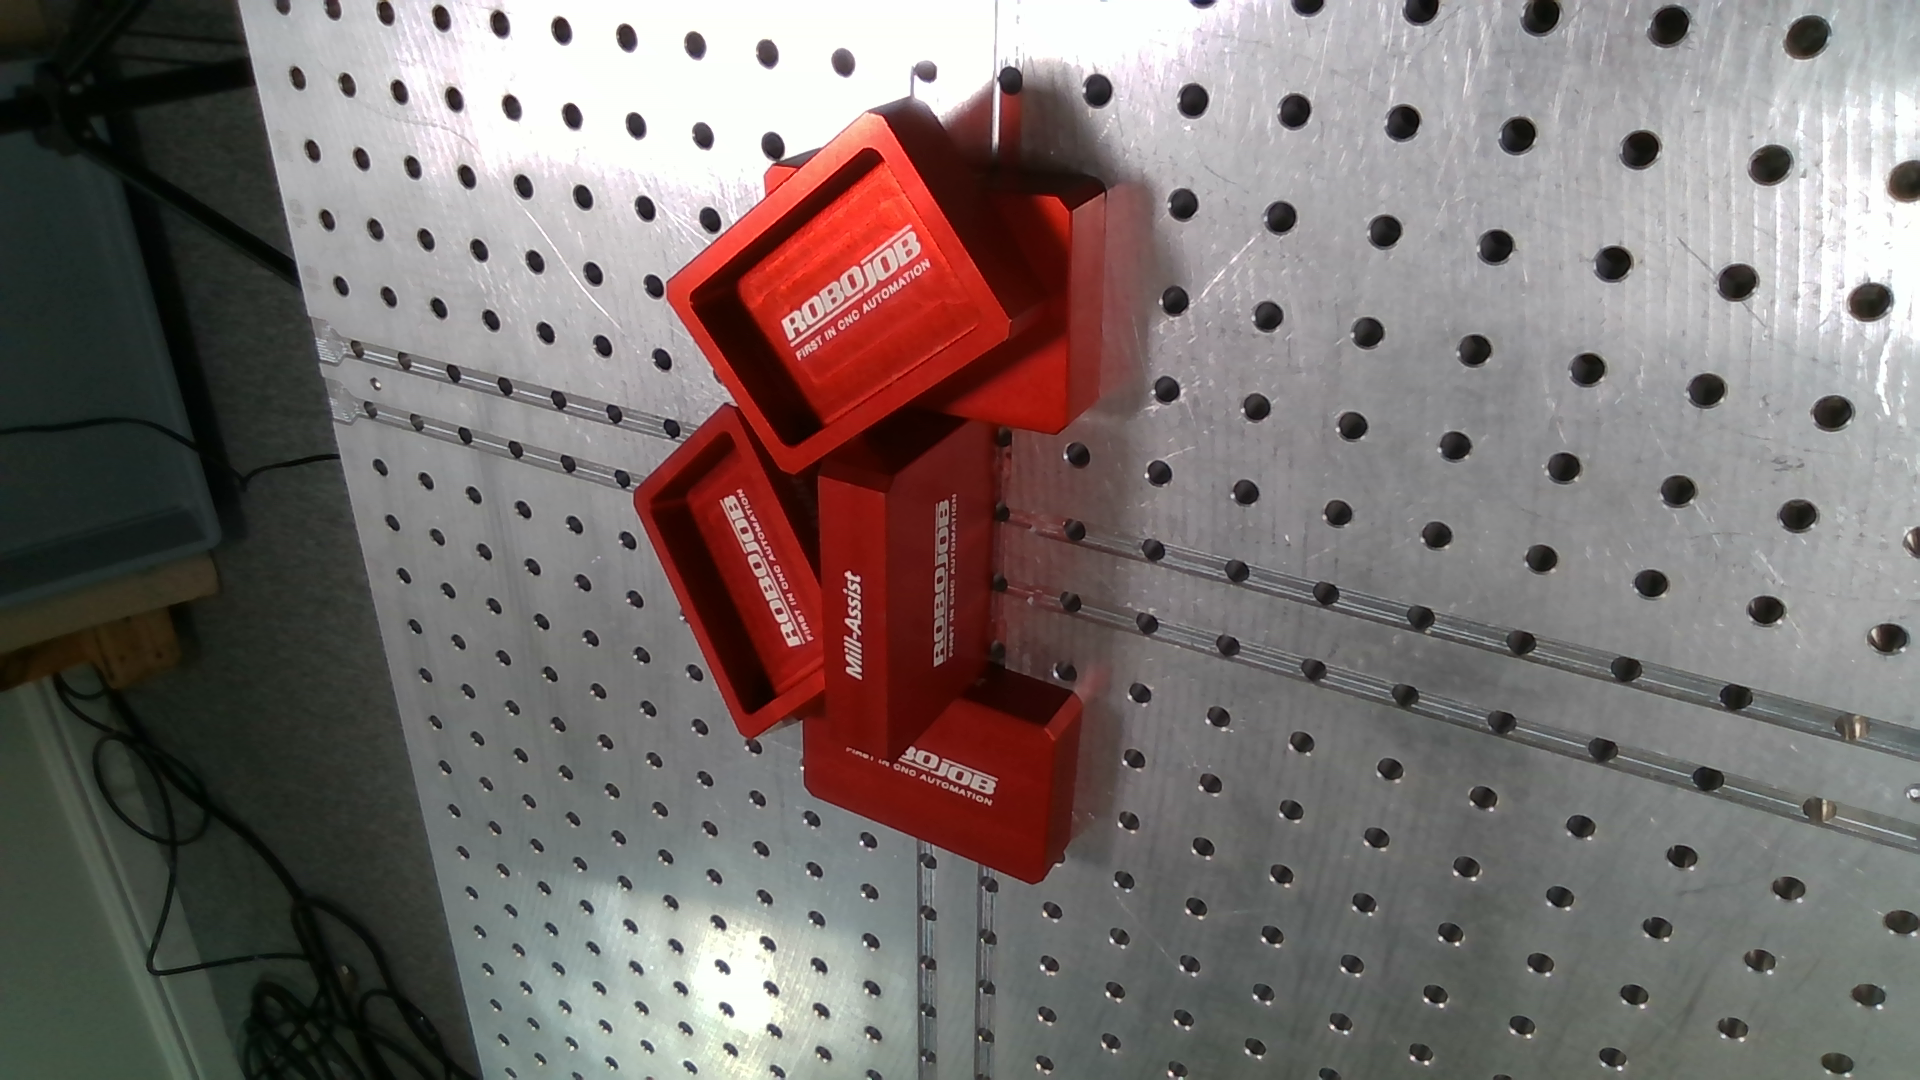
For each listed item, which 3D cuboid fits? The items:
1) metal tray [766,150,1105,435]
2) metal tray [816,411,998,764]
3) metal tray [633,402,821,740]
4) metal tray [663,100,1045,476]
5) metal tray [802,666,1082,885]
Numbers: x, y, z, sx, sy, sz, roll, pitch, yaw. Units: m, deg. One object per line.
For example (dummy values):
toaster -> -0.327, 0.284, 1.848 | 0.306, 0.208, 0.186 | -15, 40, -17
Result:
metal tray -> -0.011, -0.098, 0.533 | 0.130, 0.030, 0.090 | 13, 121, 26
metal tray -> -0.020, 0.014, 0.560 | 0.030, 0.090, 0.130 | 16, 122, 24
metal tray -> -0.090, 0.013, 0.618 | 0.090, 0.030, 0.130 | -35, 77, 40
metal tray -> -0.043, -0.090, 0.516 | 0.130, 0.030, 0.090 | -28, 99, 39
metal tray -> -0.012, 0.096, 0.639 | 0.130, 0.030, 0.090 | 17, 123, 23
